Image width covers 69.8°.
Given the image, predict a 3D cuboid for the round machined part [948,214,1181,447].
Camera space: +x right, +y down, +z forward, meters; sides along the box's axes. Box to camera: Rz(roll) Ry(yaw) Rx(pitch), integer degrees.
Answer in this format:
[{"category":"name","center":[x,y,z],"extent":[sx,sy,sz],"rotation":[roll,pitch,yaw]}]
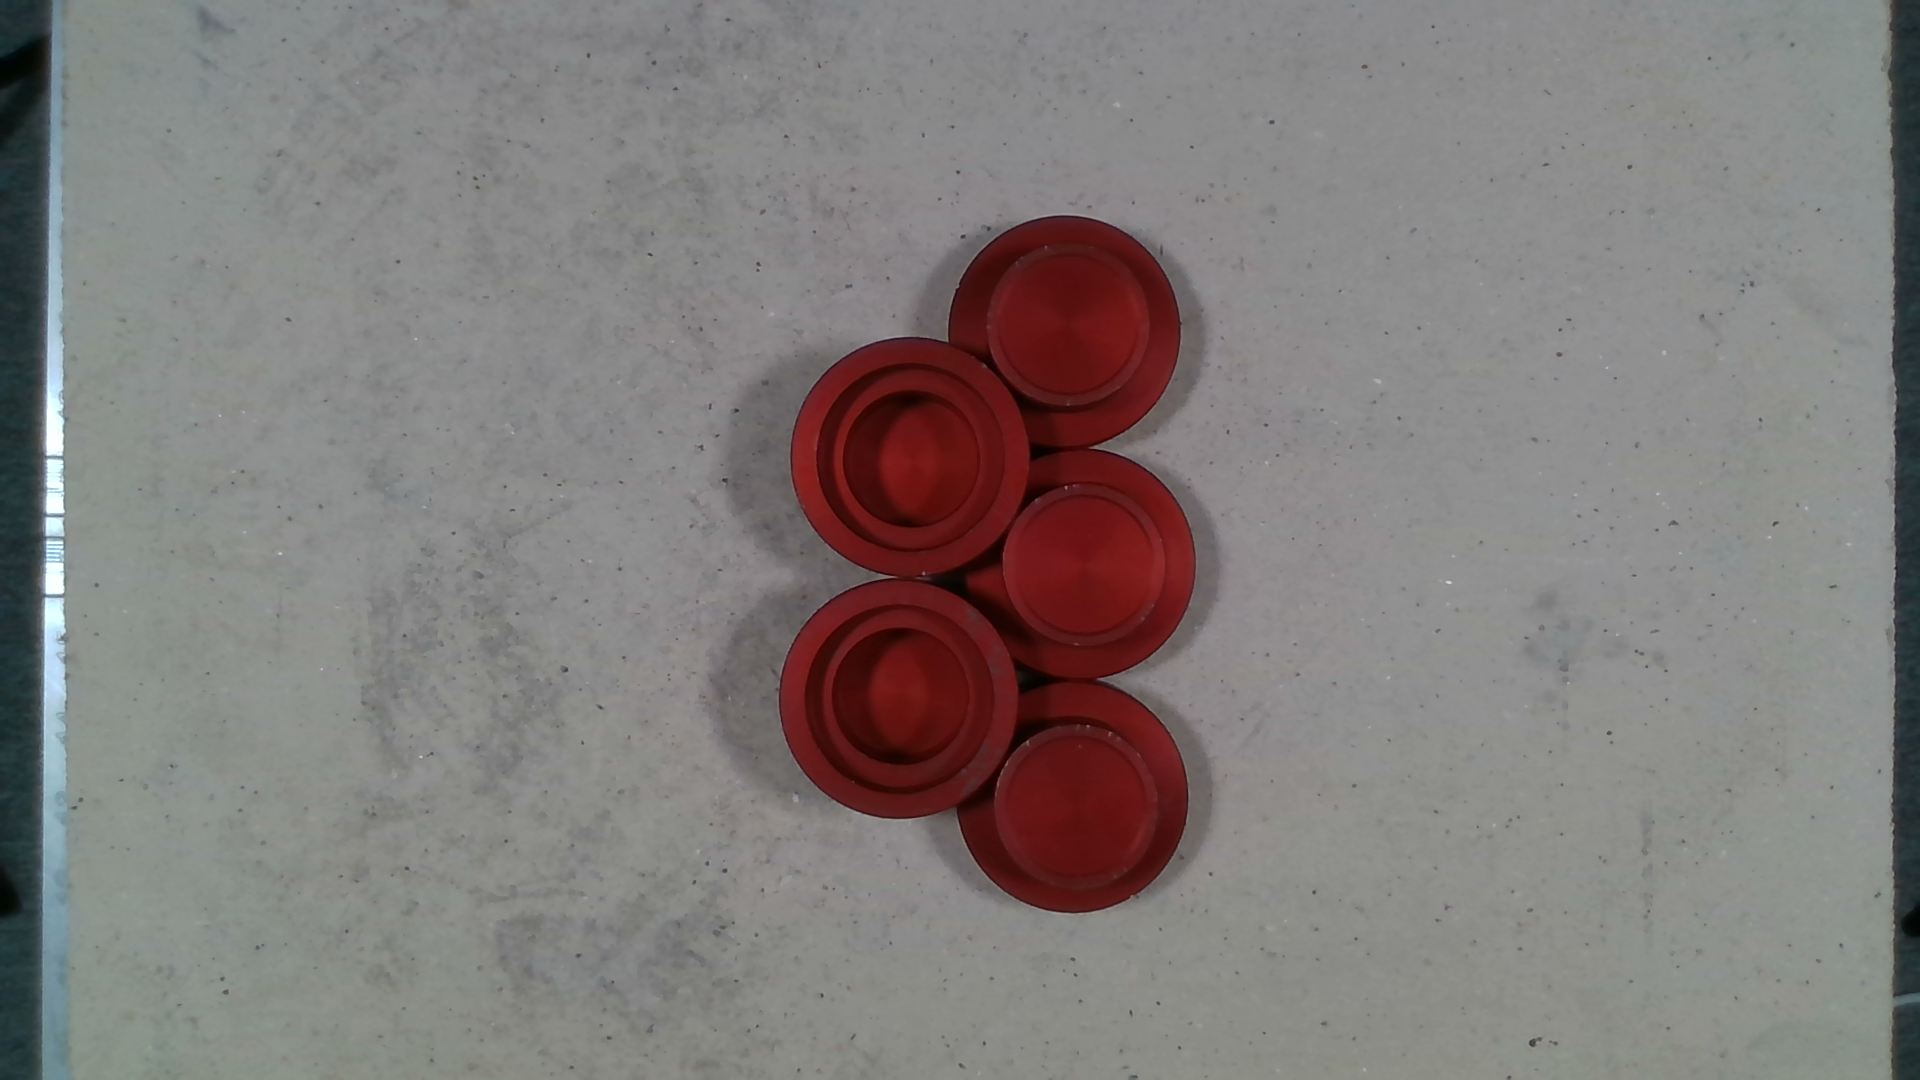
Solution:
[{"category":"round machined part","center":[0.044,-0.088,0.578],"extent":[0.098,0.042,0.098],"rotation":[0,90,0]}]

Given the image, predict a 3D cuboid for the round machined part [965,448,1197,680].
[{"category":"round machined part","center":[0.051,0.010,0.579],"extent":[0.098,0.042,0.098],"rotation":[0,90,0]}]

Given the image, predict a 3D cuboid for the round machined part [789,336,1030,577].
[{"category":"round machined part","center":[-0.021,-0.034,0.578],"extent":[0.098,0.042,0.098],"rotation":[0,90,0]}]

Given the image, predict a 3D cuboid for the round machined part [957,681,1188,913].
[{"category":"round machined part","center":[0.047,0.109,0.580],"extent":[0.098,0.042,0.098],"rotation":[0,90,0]}]

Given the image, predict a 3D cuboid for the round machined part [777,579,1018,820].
[{"category":"round machined part","center":[-0.025,0.065,0.579],"extent":[0.098,0.042,0.098],"rotation":[0,90,0]}]
